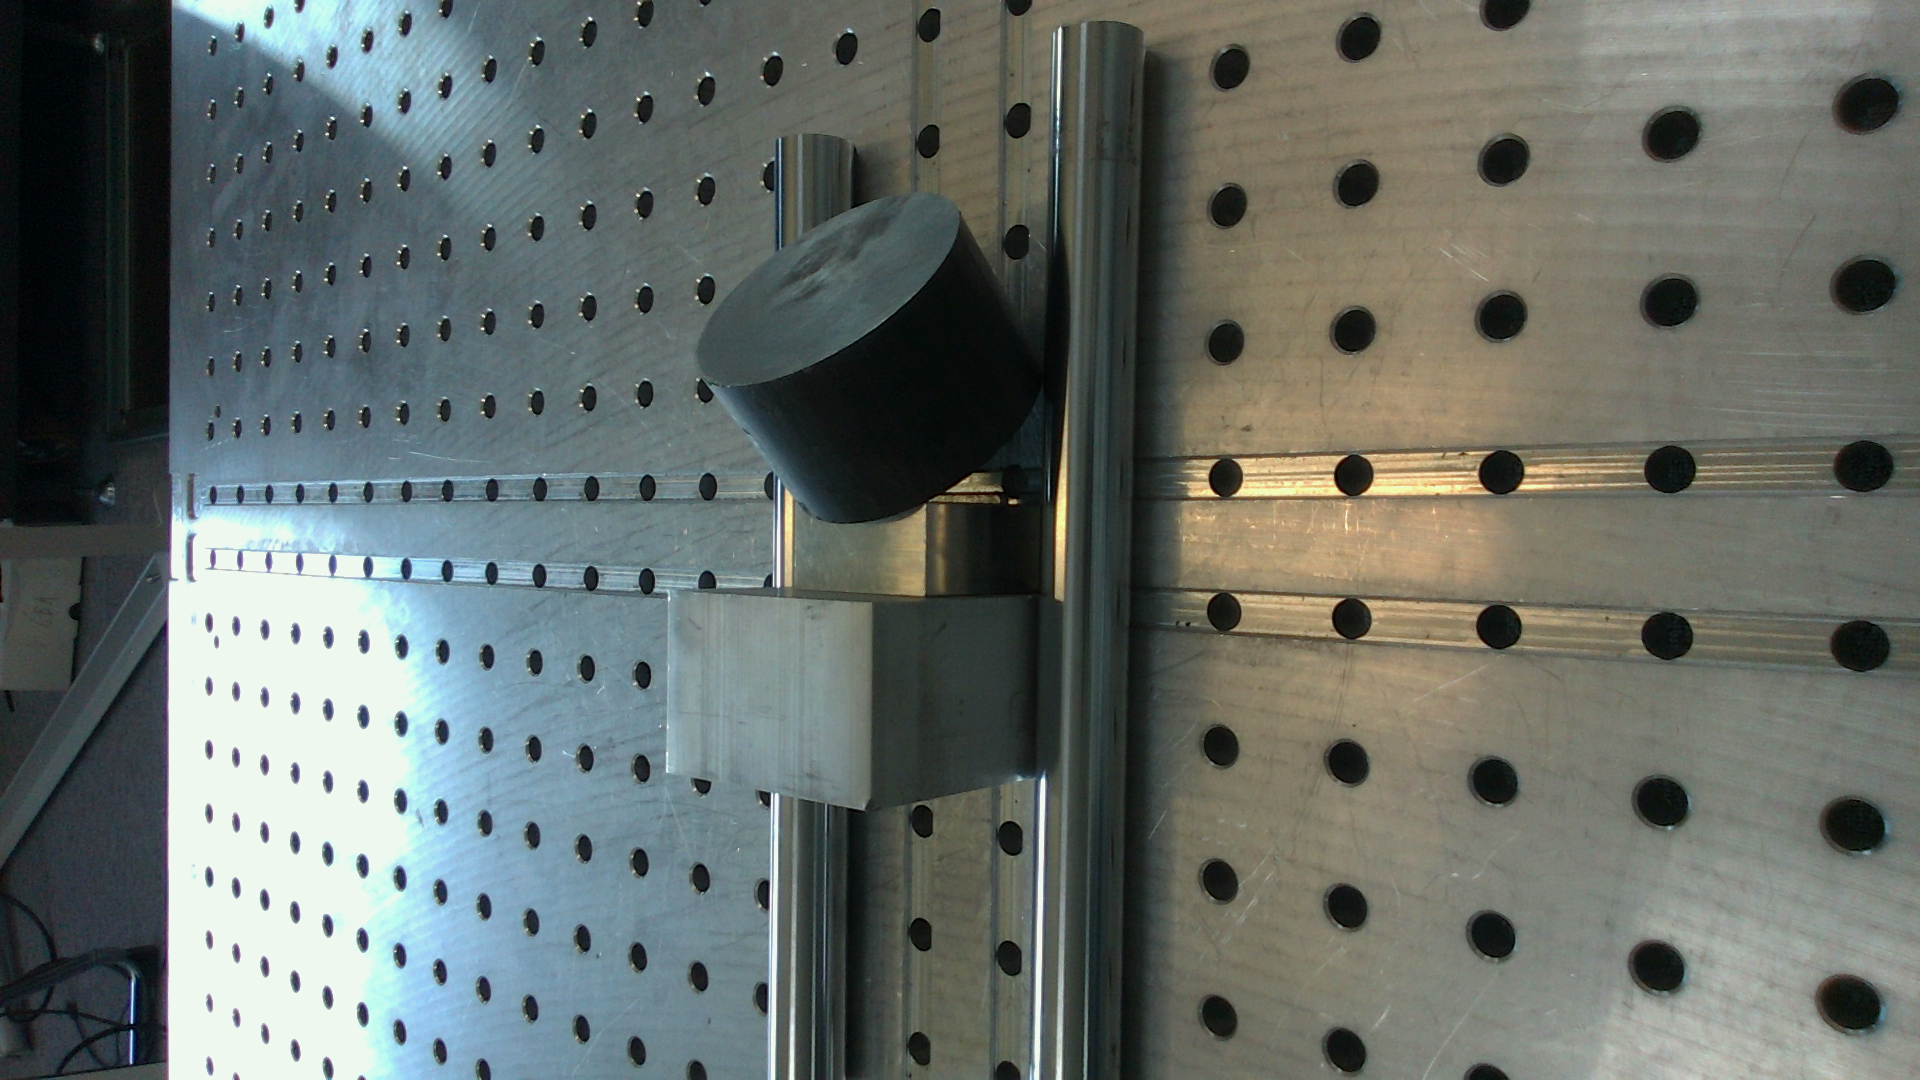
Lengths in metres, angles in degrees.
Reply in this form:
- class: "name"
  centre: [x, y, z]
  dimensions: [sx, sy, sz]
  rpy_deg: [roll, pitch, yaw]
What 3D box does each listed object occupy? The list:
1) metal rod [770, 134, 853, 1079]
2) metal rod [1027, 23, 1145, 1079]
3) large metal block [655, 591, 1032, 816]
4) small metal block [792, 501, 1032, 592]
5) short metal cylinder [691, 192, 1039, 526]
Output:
- class: "metal rod"
  centre: [-0.047, 0.025, 0.437]
  dimensions: [0.025, 0.025, 0.300]
  rpy_deg: [1, 91, 40]
- class: "metal rod"
  centre: [0.033, 0.017, 0.370]
  dimensions: [0.025, 0.025, 0.300]
  rpy_deg: [2, 92, 40]
- class: "large metal block"
  centre: [-0.027, 0.040, 0.381]
  dimensions: [0.080, 0.080, 0.050]
  rpy_deg: [1, 91, 40]
- class: "small metal block"
  centre: [-0.012, 0.002, 0.391]
  dimensions: [0.050, 0.050, 0.025]
  rpy_deg: [2, 91, 40]
- class: "short metal cylinder"
  centre: [-0.025, -0.050, 0.374]
  dimensions: [0.080, 0.050, 0.080]
  rpy_deg: [-21, 36, 17]
